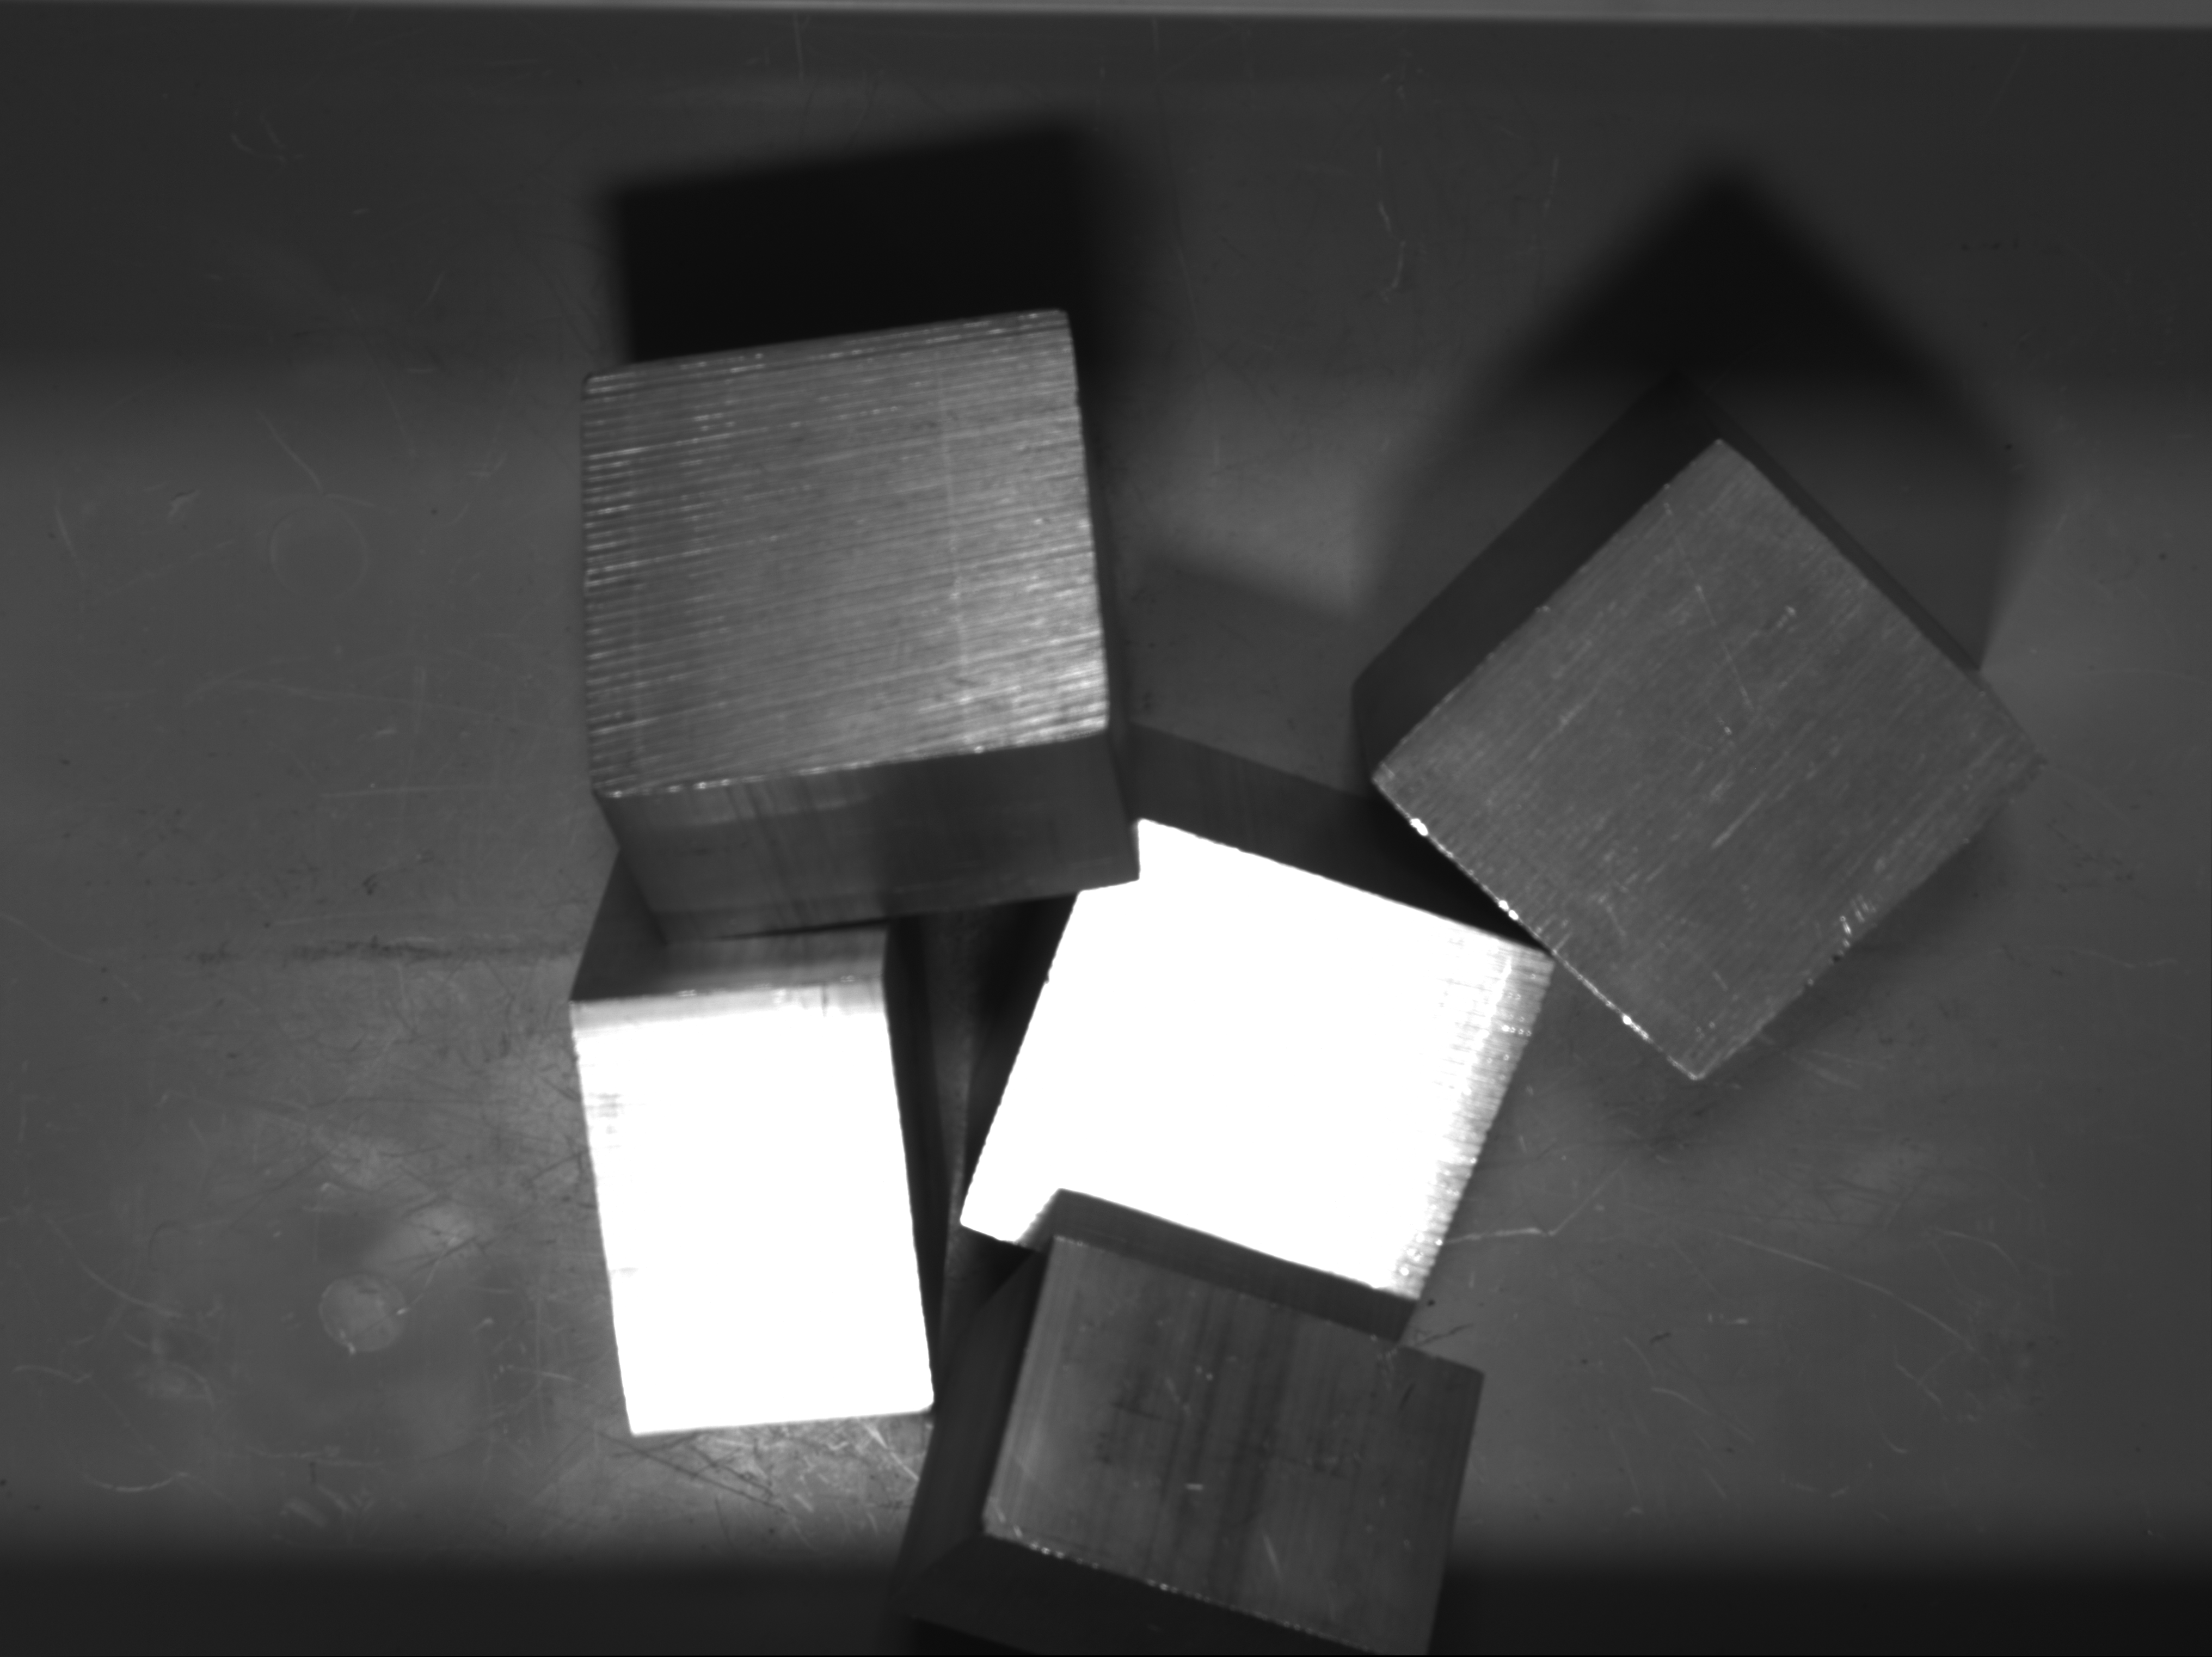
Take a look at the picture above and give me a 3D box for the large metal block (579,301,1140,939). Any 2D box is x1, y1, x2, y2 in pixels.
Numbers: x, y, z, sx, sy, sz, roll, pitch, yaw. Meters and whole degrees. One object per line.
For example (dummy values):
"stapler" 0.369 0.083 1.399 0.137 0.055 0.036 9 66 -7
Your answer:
"large metal block" -0.040 -0.033 0.594 0.080 0.080 0.050 -7 152 3

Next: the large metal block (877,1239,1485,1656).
"large metal block" 0.012 0.117 0.649 0.080 0.080 0.050 18 66 -8

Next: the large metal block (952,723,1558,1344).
"large metal block" 0.024 0.036 0.643 0.080 0.050 0.080 18 109 -7

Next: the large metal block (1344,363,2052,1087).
"large metal block" 0.098 -0.018 0.623 0.080 0.050 0.080 42 104 -14

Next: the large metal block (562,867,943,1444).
"large metal block" -0.058 0.049 0.630 0.050 0.080 0.080 -5 110 1
